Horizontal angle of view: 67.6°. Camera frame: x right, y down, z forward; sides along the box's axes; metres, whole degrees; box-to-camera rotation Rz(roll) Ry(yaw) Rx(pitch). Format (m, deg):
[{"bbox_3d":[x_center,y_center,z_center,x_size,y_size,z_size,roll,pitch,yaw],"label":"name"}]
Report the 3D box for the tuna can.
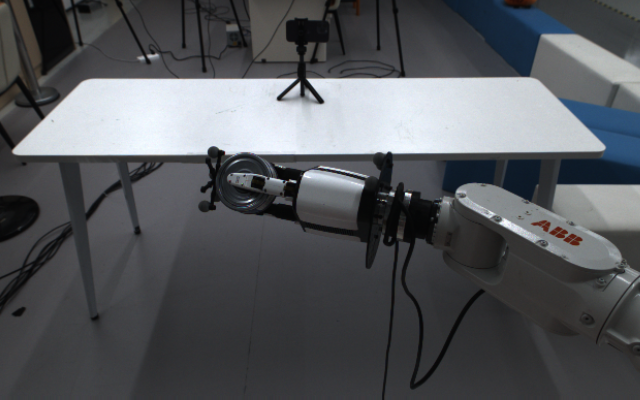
[{"bbox_3d":[-0.102,-0.024,0.689,0.085,0.085,0.034,9,-6,10],"label":"tuna can"}]
